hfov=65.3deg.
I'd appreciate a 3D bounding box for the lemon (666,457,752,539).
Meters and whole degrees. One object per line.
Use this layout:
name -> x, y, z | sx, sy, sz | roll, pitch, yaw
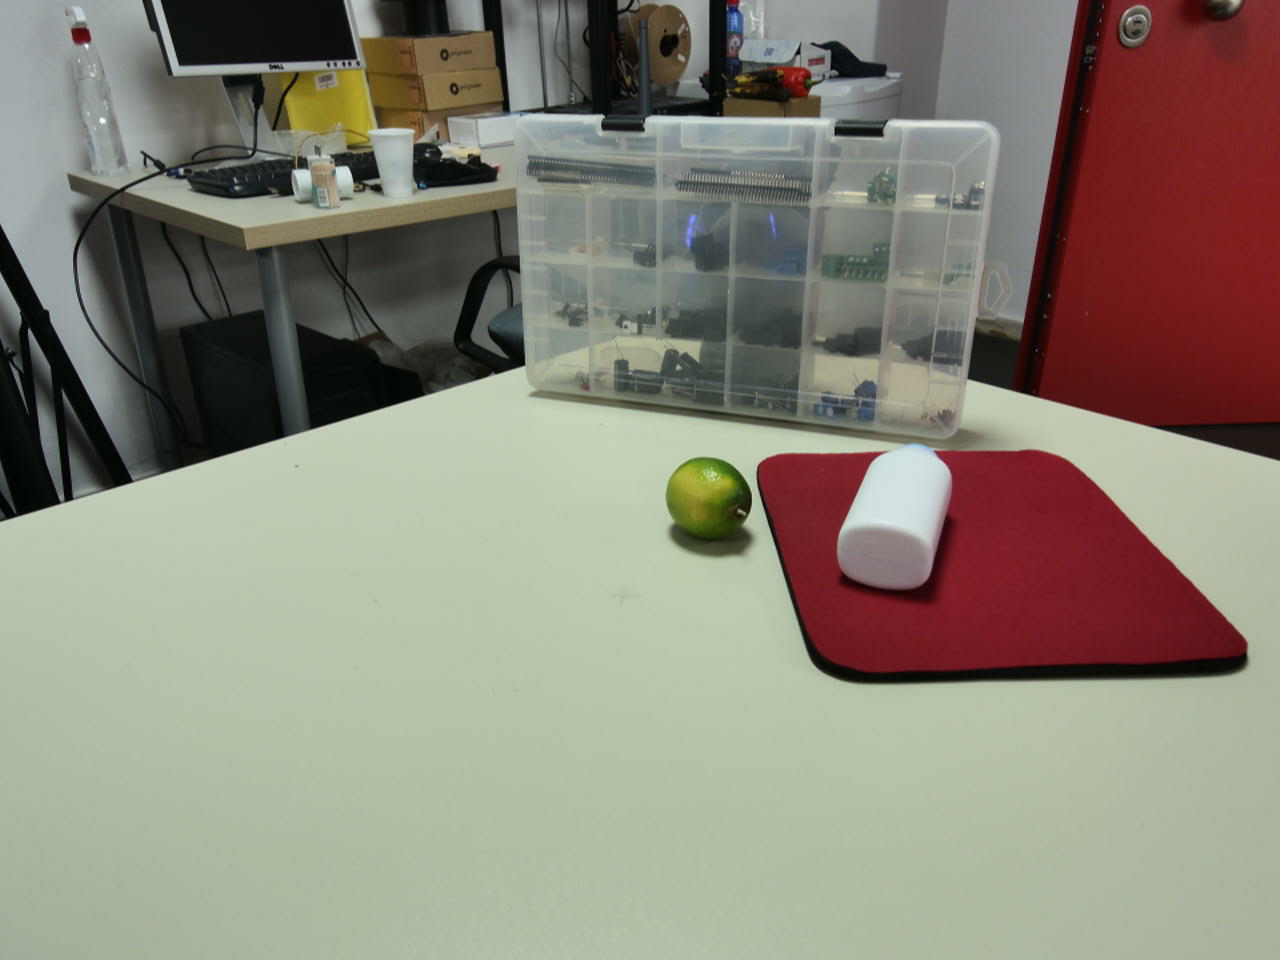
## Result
lemon -> 0.043, 0.011, 0.634 | 0.054, 0.050, 0.055 | 3, 24, 7
